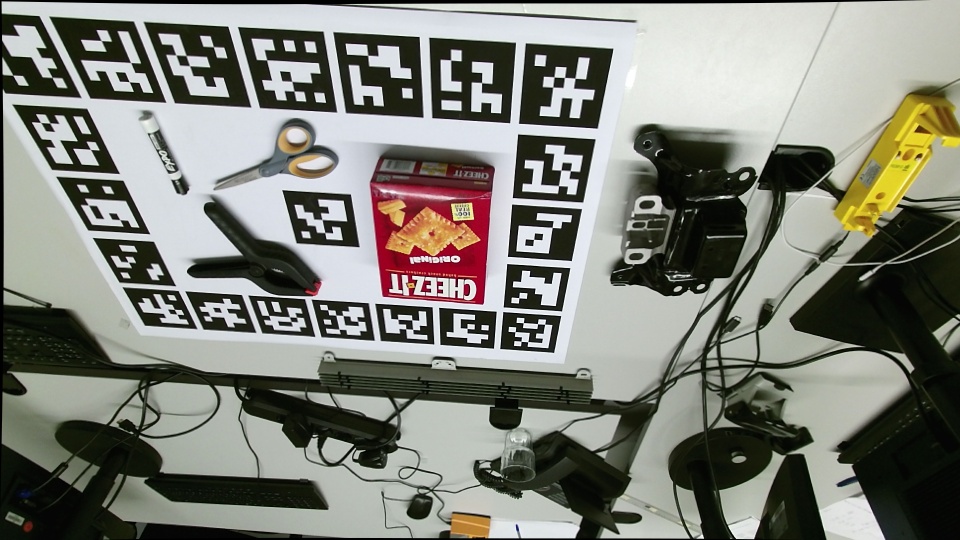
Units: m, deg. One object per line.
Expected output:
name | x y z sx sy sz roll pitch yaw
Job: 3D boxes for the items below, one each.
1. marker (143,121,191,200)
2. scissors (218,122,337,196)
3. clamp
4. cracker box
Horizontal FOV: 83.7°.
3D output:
marker | -0.439 -0.151 0.756 0.020 0.019 0.121 1 132 3
scissors | -0.296 -0.139 0.758 0.203 0.016 0.088 -18 129 22
clamp | -0.352 -0.005 0.888 0.203 0.036 0.165 27 129 -18
cracker box | -0.067 -0.049 0.790 0.165 0.071 0.214 4 132 0
